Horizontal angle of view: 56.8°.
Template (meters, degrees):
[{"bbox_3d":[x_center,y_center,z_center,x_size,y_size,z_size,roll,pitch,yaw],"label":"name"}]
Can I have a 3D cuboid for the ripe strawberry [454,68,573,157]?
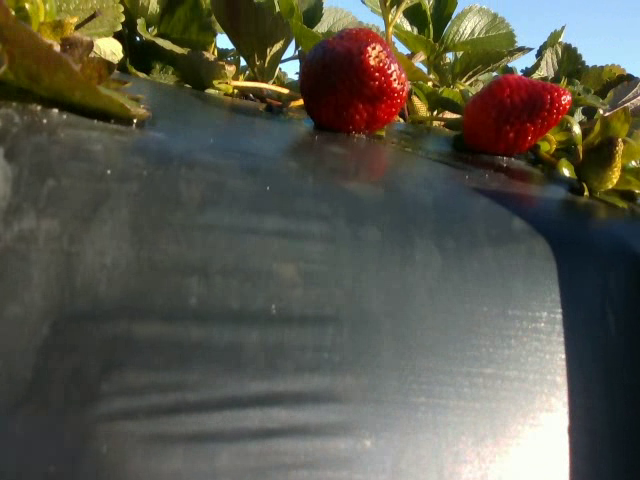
[{"bbox_3d":[0.083,-0.052,0.242,0.042,0.039,0.049,-35,13,-28],"label":"ripe strawberry"}]

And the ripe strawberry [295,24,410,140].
[{"bbox_3d":[0.013,-0.062,0.221,0.050,0.045,0.050,25,-10,-4],"label":"ripe strawberry"}]
